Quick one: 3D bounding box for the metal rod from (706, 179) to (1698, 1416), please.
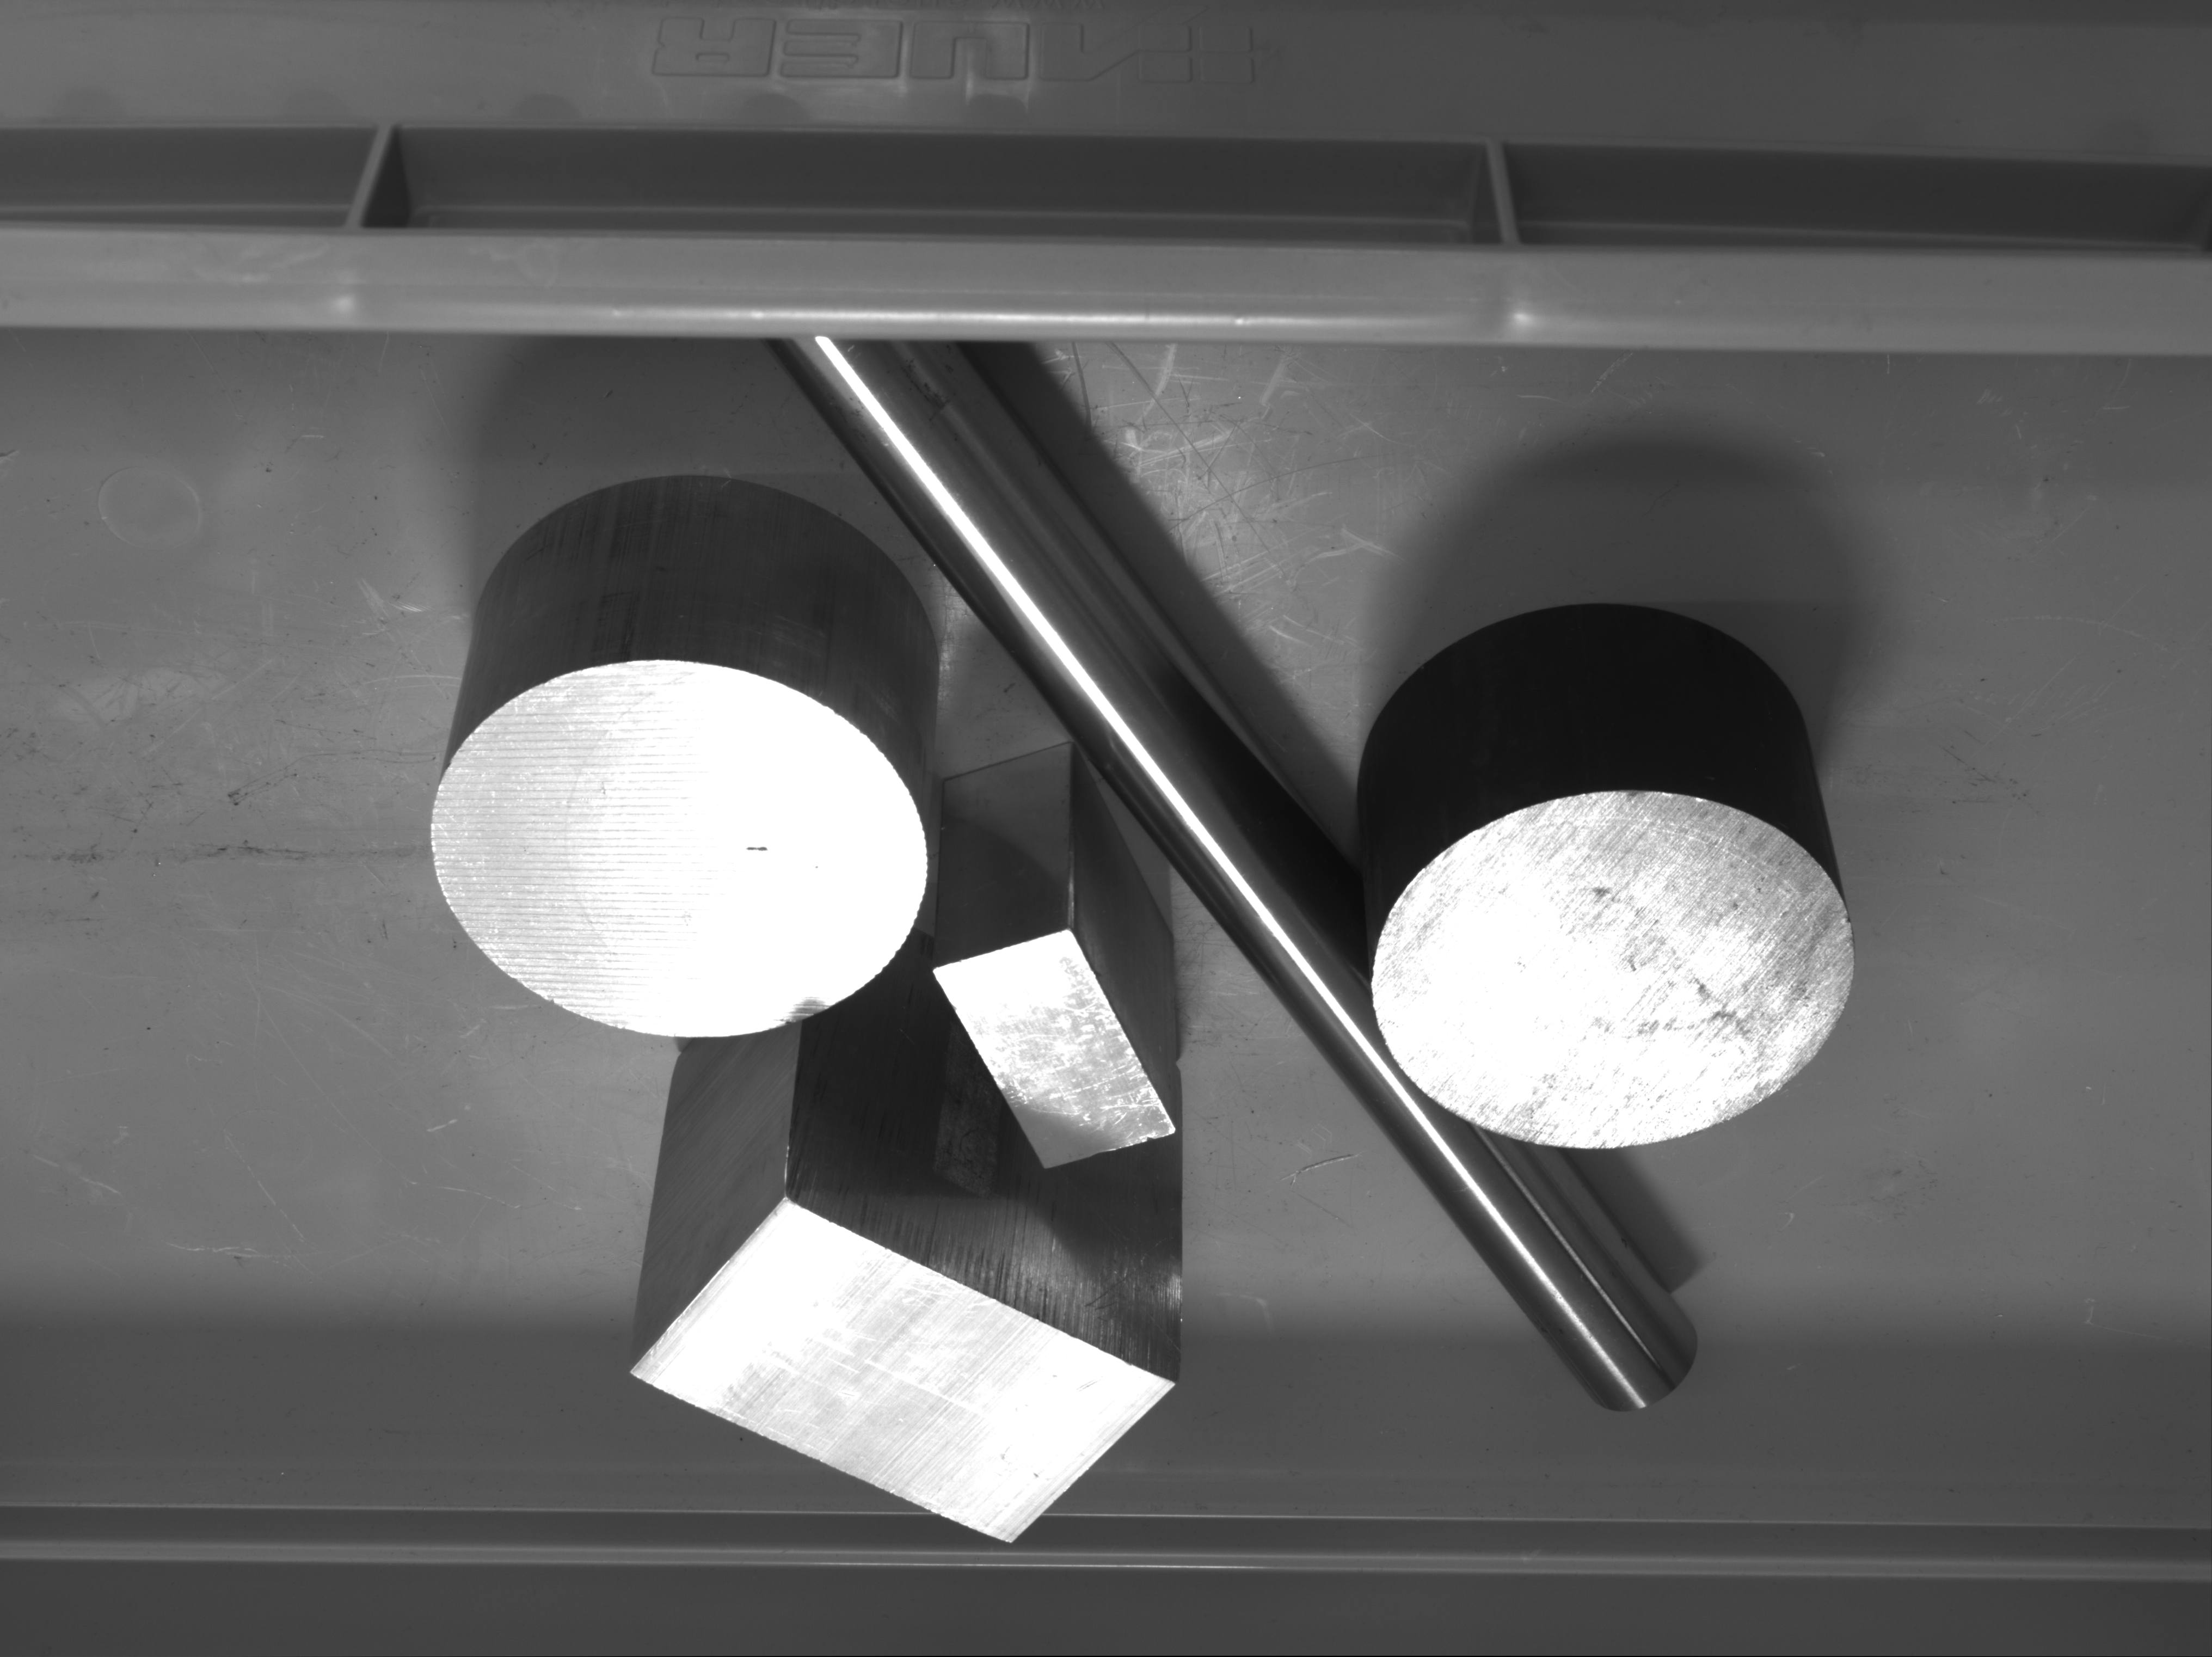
[{"bbox_3d":[0.027,0.008,0.644,0.025,0.025,0.301,-25,126,20],"label":"metal rod"}]

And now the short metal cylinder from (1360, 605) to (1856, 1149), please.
[{"bbox_3d":[0.084,0.009,0.629,0.080,0.050,0.080,0,130,0],"label":"short metal cylinder"}]

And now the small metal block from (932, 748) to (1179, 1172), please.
[{"bbox_3d":[-0.008,0.022,0.640,0.025,0.050,0.050,-17,128,14],"label":"small metal block"}]

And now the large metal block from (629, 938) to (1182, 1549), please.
[{"bbox_3d":[-0.034,0.070,0.659,0.080,0.080,0.050,28,125,-21],"label":"large metal block"}]

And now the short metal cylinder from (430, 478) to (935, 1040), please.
[{"bbox_3d":[-0.069,-0.011,0.612,0.080,0.050,0.080,0,130,0],"label":"short metal cylinder"}]
